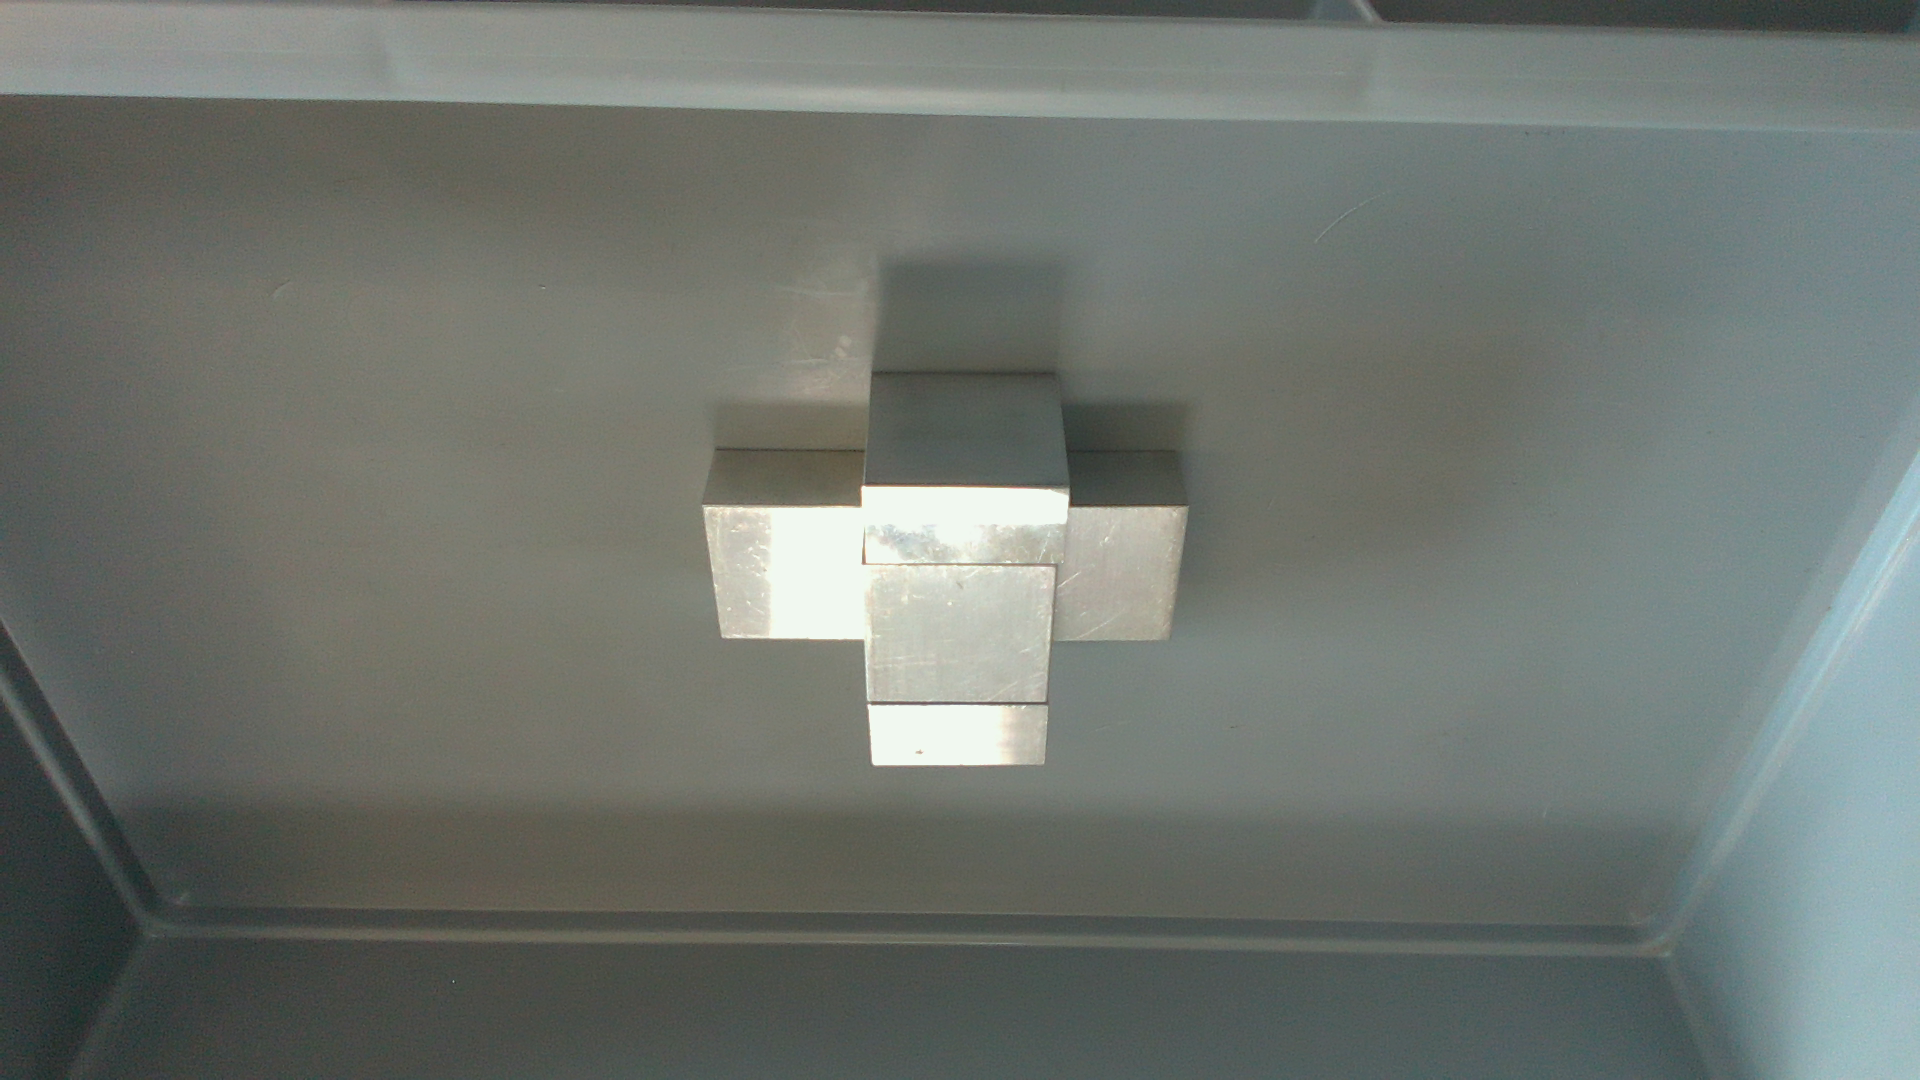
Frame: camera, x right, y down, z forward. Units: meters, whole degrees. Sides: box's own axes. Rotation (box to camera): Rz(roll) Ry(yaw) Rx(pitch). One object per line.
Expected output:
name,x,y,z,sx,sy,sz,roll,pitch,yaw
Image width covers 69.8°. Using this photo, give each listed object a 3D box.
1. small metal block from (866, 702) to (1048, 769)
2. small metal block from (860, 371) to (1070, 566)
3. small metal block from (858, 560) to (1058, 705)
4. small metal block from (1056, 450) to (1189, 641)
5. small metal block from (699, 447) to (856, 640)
small metal block,-0.001,0.040,0.404,0.050,0.050,0.025,0,130,-1
small metal block,0.001,-0.019,0.356,0.050,0.050,0.025,0,130,-1
small metal block,-0.001,0.018,0.370,0.050,0.025,0.050,0,130,-1
small metal block,0.036,0.002,0.391,0.050,0.025,0.050,0,130,-1
small metal block,-0.044,0.002,0.389,0.050,0.025,0.050,0,130,-1
